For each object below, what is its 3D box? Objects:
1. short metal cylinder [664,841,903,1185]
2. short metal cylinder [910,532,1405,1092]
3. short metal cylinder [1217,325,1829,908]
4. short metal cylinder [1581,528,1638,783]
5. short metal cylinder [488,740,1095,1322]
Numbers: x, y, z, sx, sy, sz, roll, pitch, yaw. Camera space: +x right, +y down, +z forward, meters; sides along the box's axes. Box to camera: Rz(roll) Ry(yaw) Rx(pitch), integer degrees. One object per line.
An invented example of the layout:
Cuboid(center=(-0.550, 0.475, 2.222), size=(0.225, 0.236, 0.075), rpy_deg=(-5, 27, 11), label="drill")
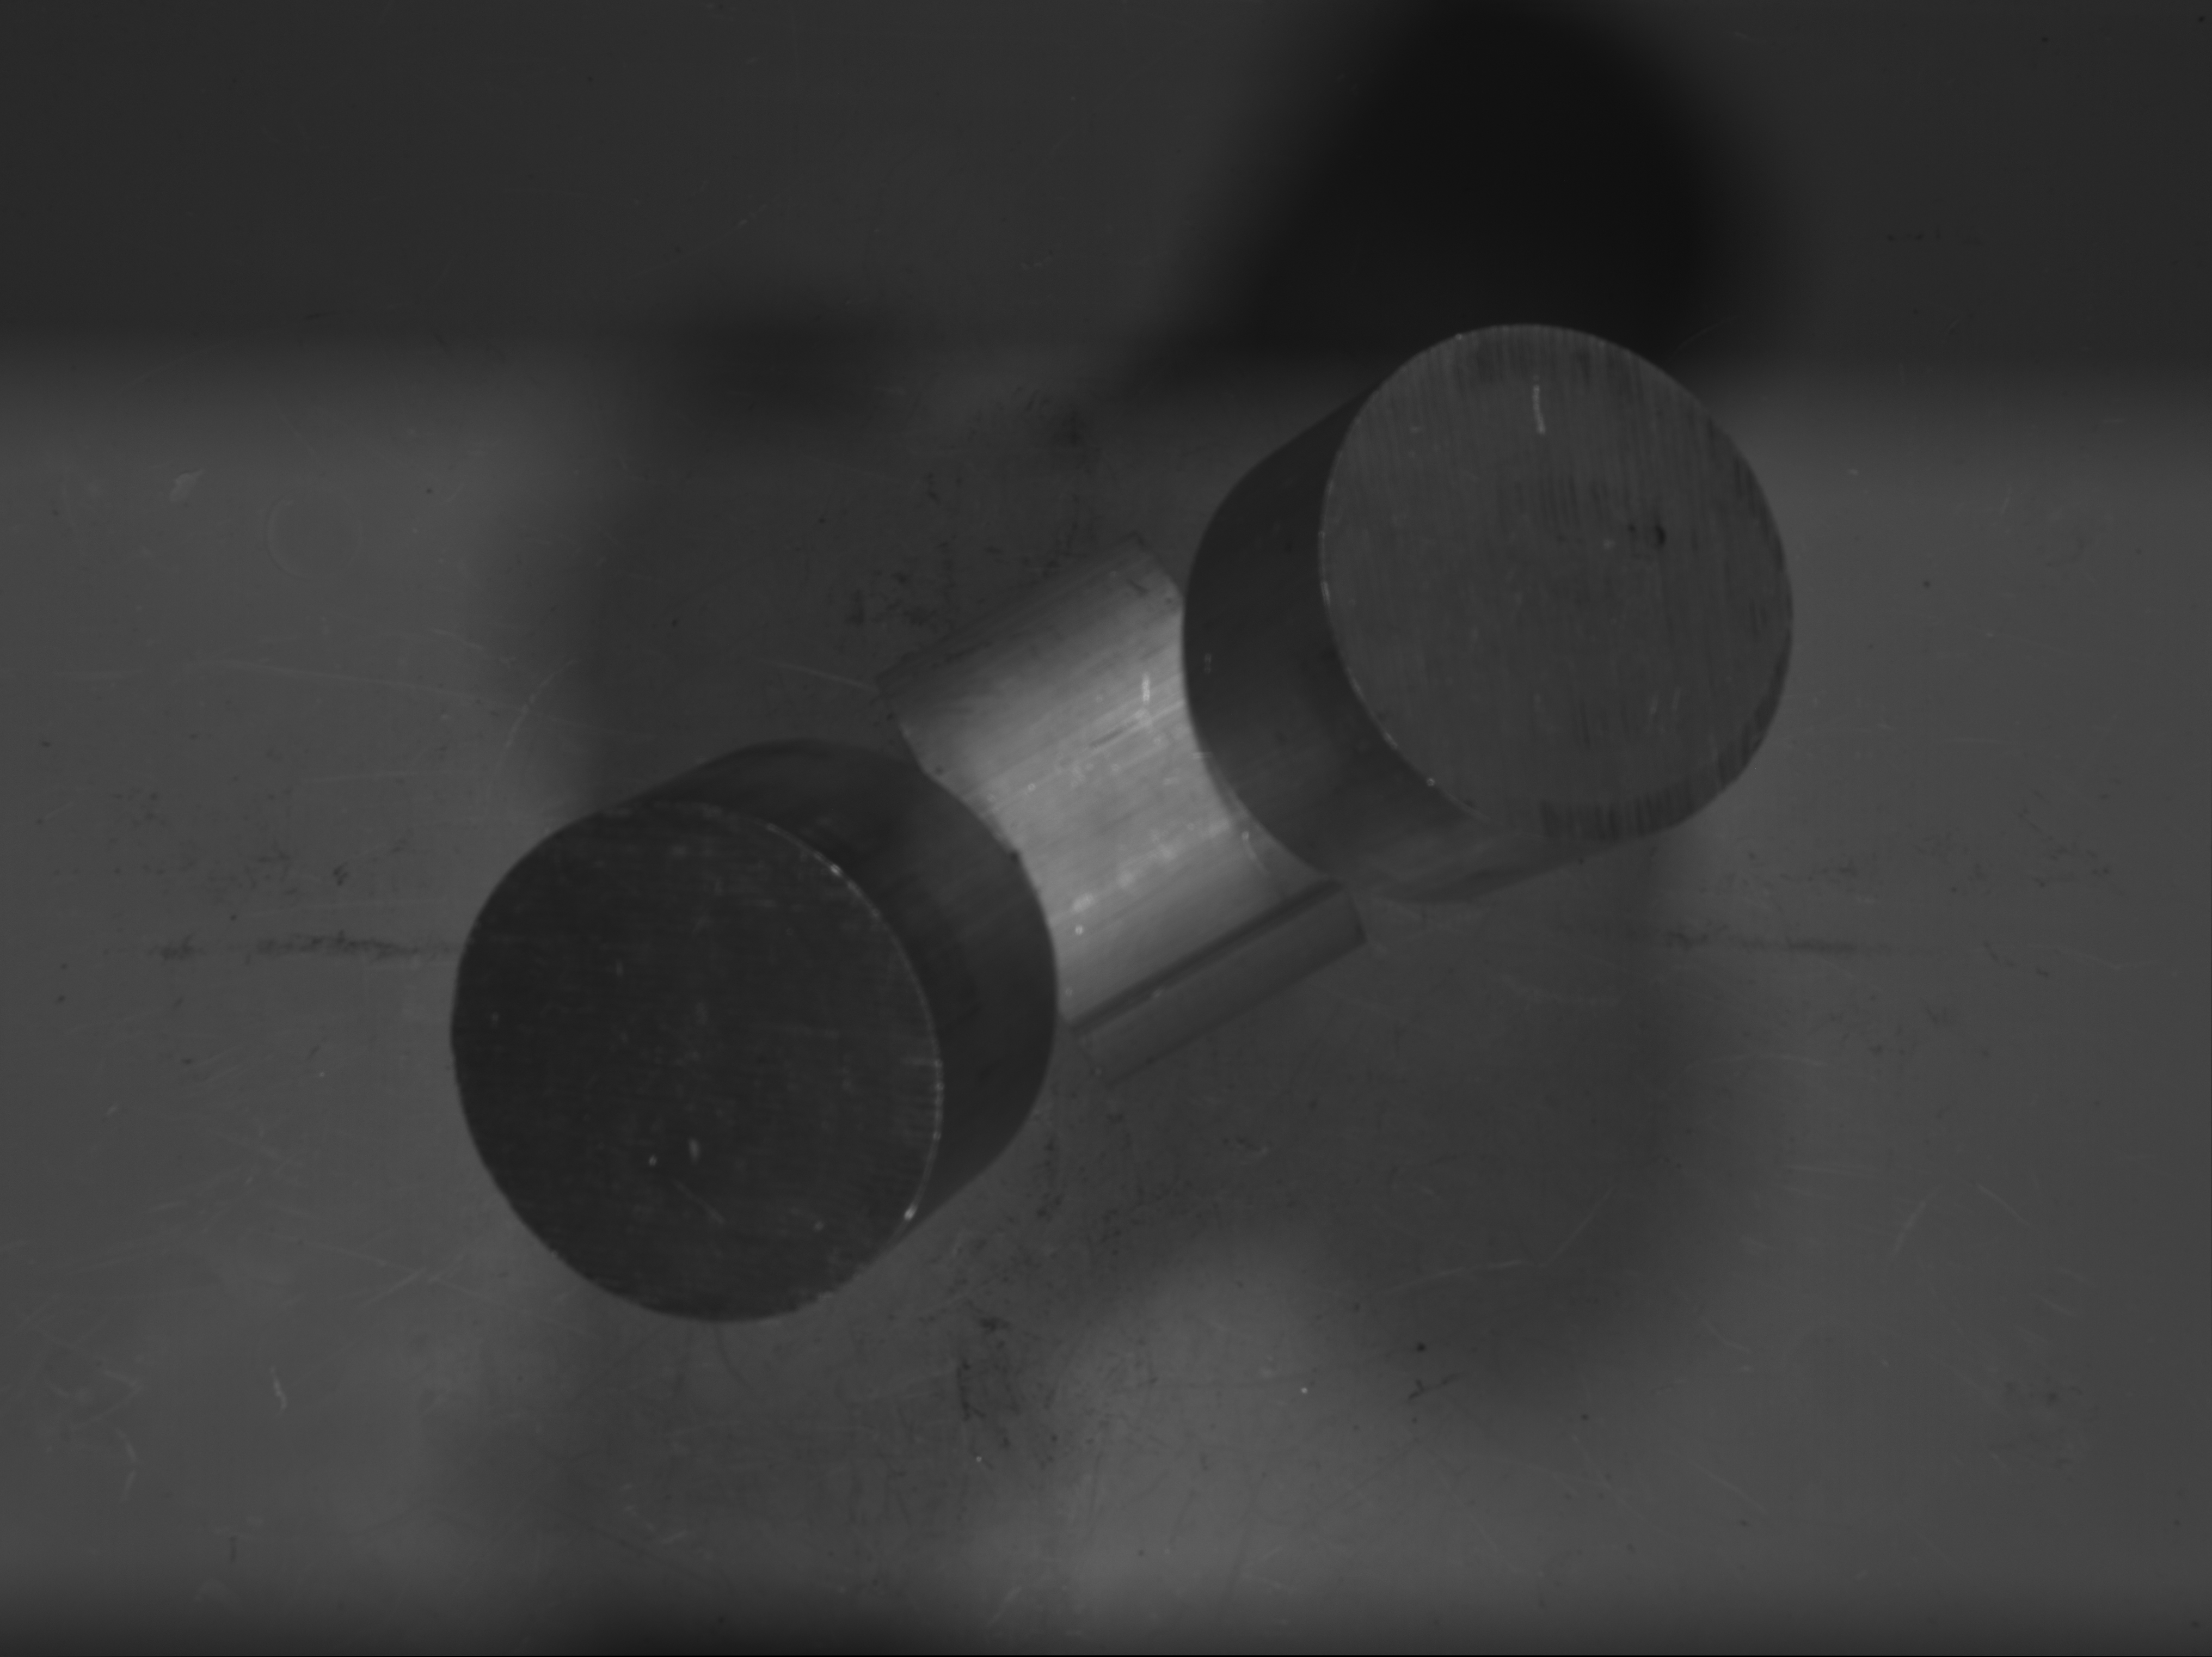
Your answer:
Cuboid(center=(-0.049, 0.030, 0.631), size=(0.080, 0.050, 0.080), rpy_deg=(0, 90, 0), label="short metal cylinder")
Cuboid(center=(0.009, -0.003, 0.616), size=(0.050, 0.080, 0.080), rpy_deg=(-29, 90, 0), label="short metal cylinder")
Cuboid(center=(0.064, -0.032, 0.567), size=(0.080, 0.050, 0.080), rpy_deg=(5, 76, -21), label="short metal cylinder")
Cuboid(center=(0.066, -0.033, 0.632), size=(0.080, 0.050, 0.080), rpy_deg=(0, 90, 0), label="short metal cylinder")
Cuboid(center=(-0.048, 0.030, 0.567), size=(0.080, 0.050, 0.080), rpy_deg=(4, 103, 19), label="short metal cylinder")
